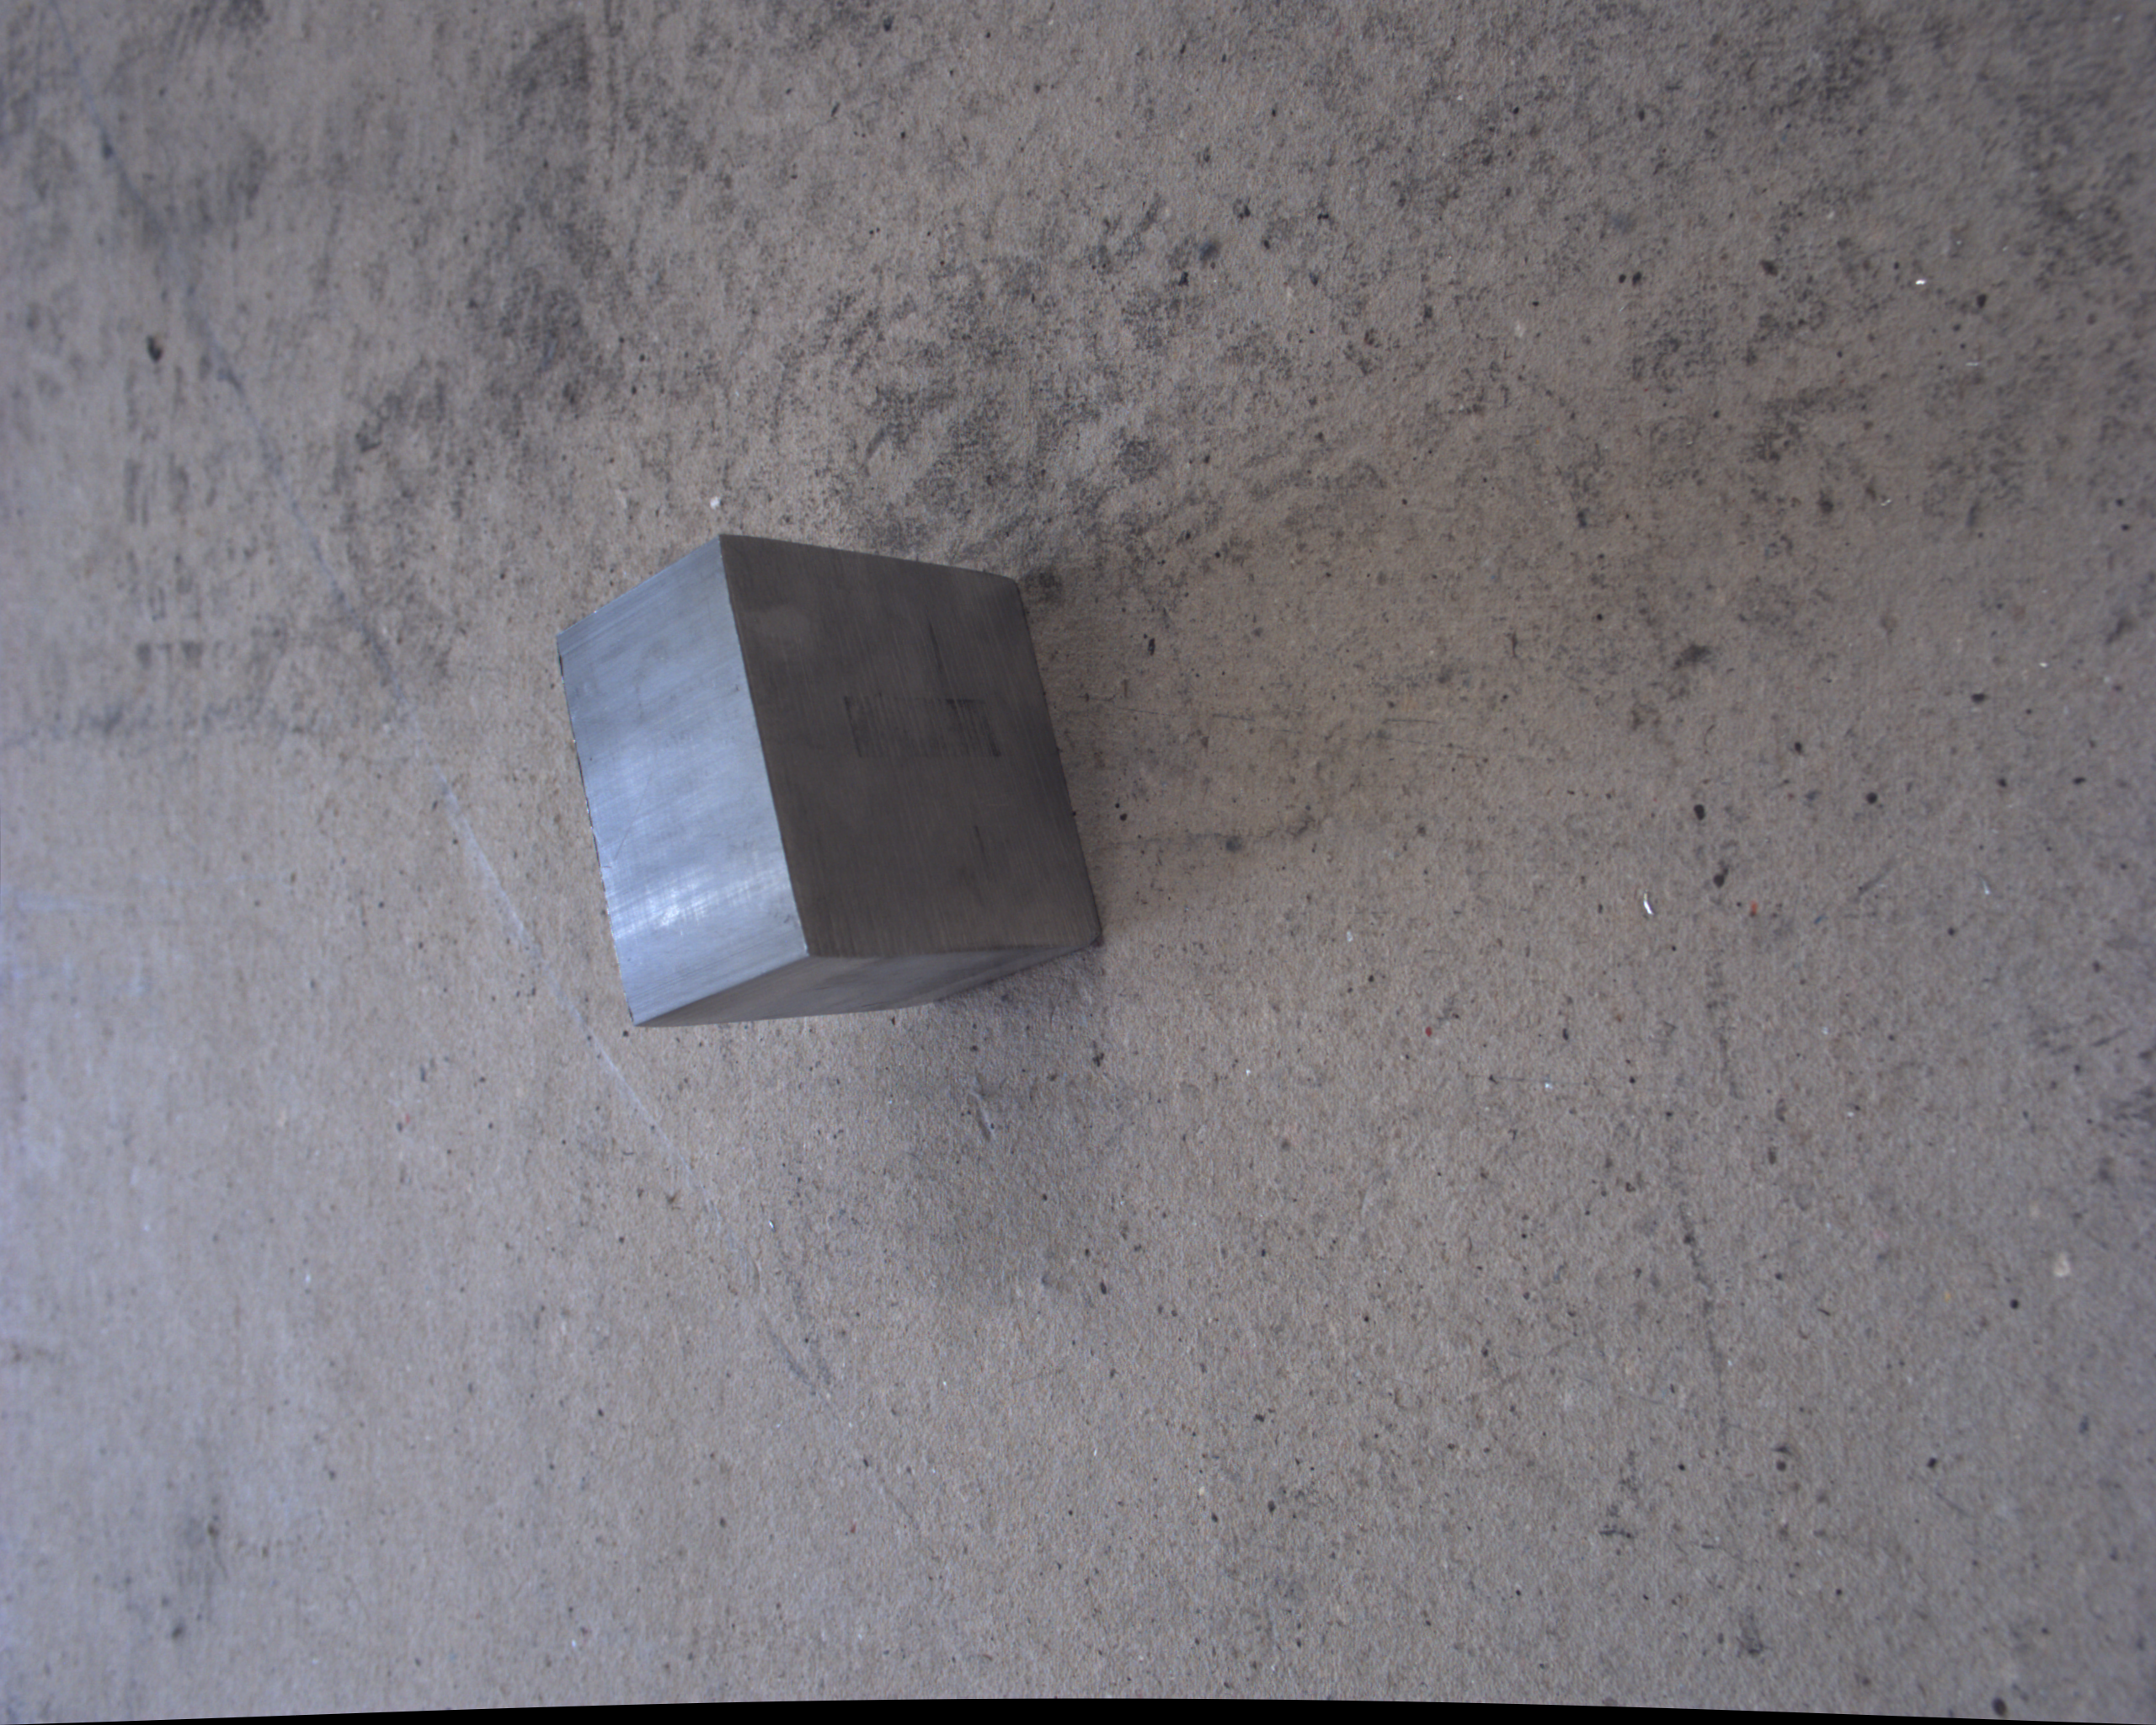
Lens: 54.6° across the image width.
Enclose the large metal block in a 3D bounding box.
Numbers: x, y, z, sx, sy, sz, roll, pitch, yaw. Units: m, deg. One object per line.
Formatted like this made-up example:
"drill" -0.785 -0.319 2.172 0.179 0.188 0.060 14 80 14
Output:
"large metal block" -0.048 -0.014 0.411 0.050 0.081 0.080 -22 76 38
